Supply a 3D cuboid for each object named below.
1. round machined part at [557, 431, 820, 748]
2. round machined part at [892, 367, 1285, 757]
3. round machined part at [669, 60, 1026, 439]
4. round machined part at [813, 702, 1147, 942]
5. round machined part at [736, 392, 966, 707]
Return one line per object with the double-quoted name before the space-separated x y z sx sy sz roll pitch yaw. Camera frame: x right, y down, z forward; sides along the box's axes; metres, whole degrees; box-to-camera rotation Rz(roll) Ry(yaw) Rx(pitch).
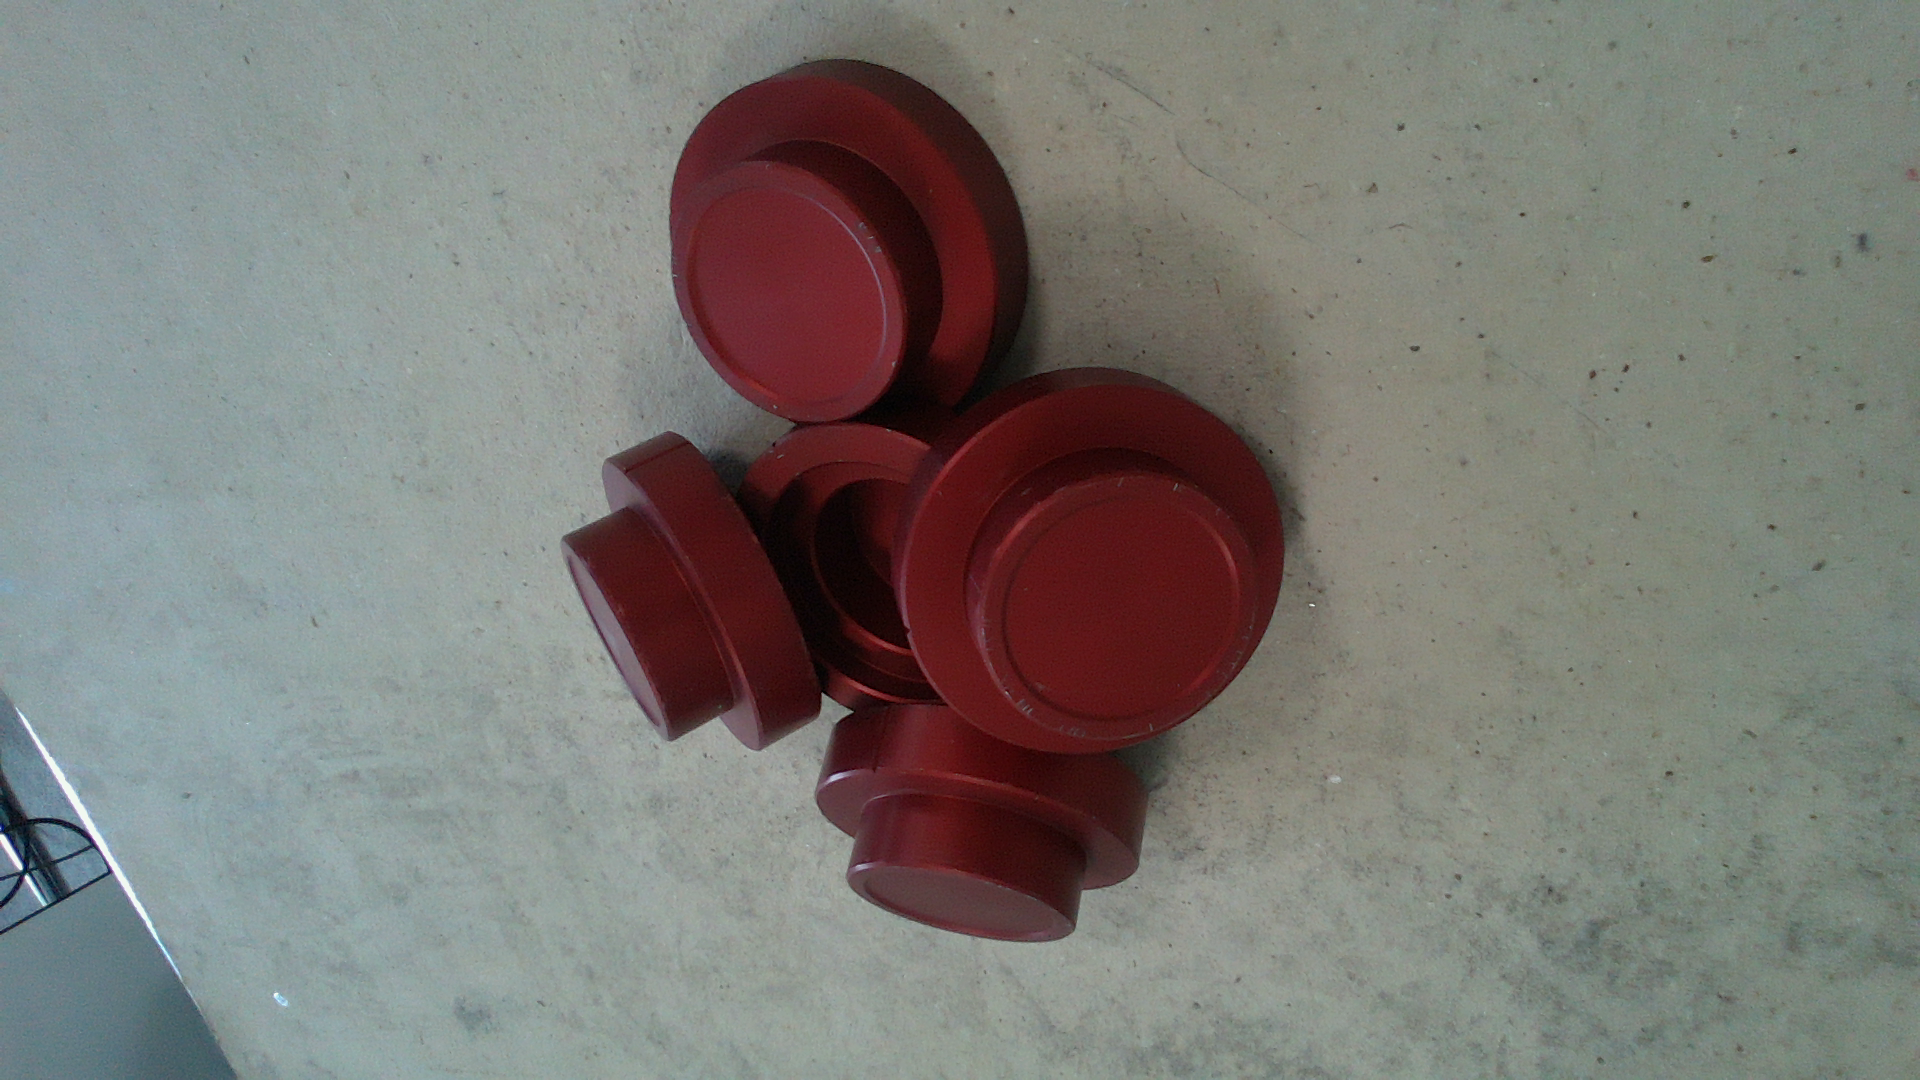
"round machined part" -0.085 0.021 0.409 0.098 0.042 0.098 48 156 30
"round machined part" 0.034 0.010 0.337 0.098 0.042 0.098 -3 110 -9
"round machined part" -0.036 -0.070 0.357 0.098 0.042 0.098 13 123 22
"round machined part" 0.004 0.088 0.407 0.098 0.042 0.098 11 151 6
"round machined part" -0.012 0.003 0.390 0.098 0.042 0.098 15 124 23
